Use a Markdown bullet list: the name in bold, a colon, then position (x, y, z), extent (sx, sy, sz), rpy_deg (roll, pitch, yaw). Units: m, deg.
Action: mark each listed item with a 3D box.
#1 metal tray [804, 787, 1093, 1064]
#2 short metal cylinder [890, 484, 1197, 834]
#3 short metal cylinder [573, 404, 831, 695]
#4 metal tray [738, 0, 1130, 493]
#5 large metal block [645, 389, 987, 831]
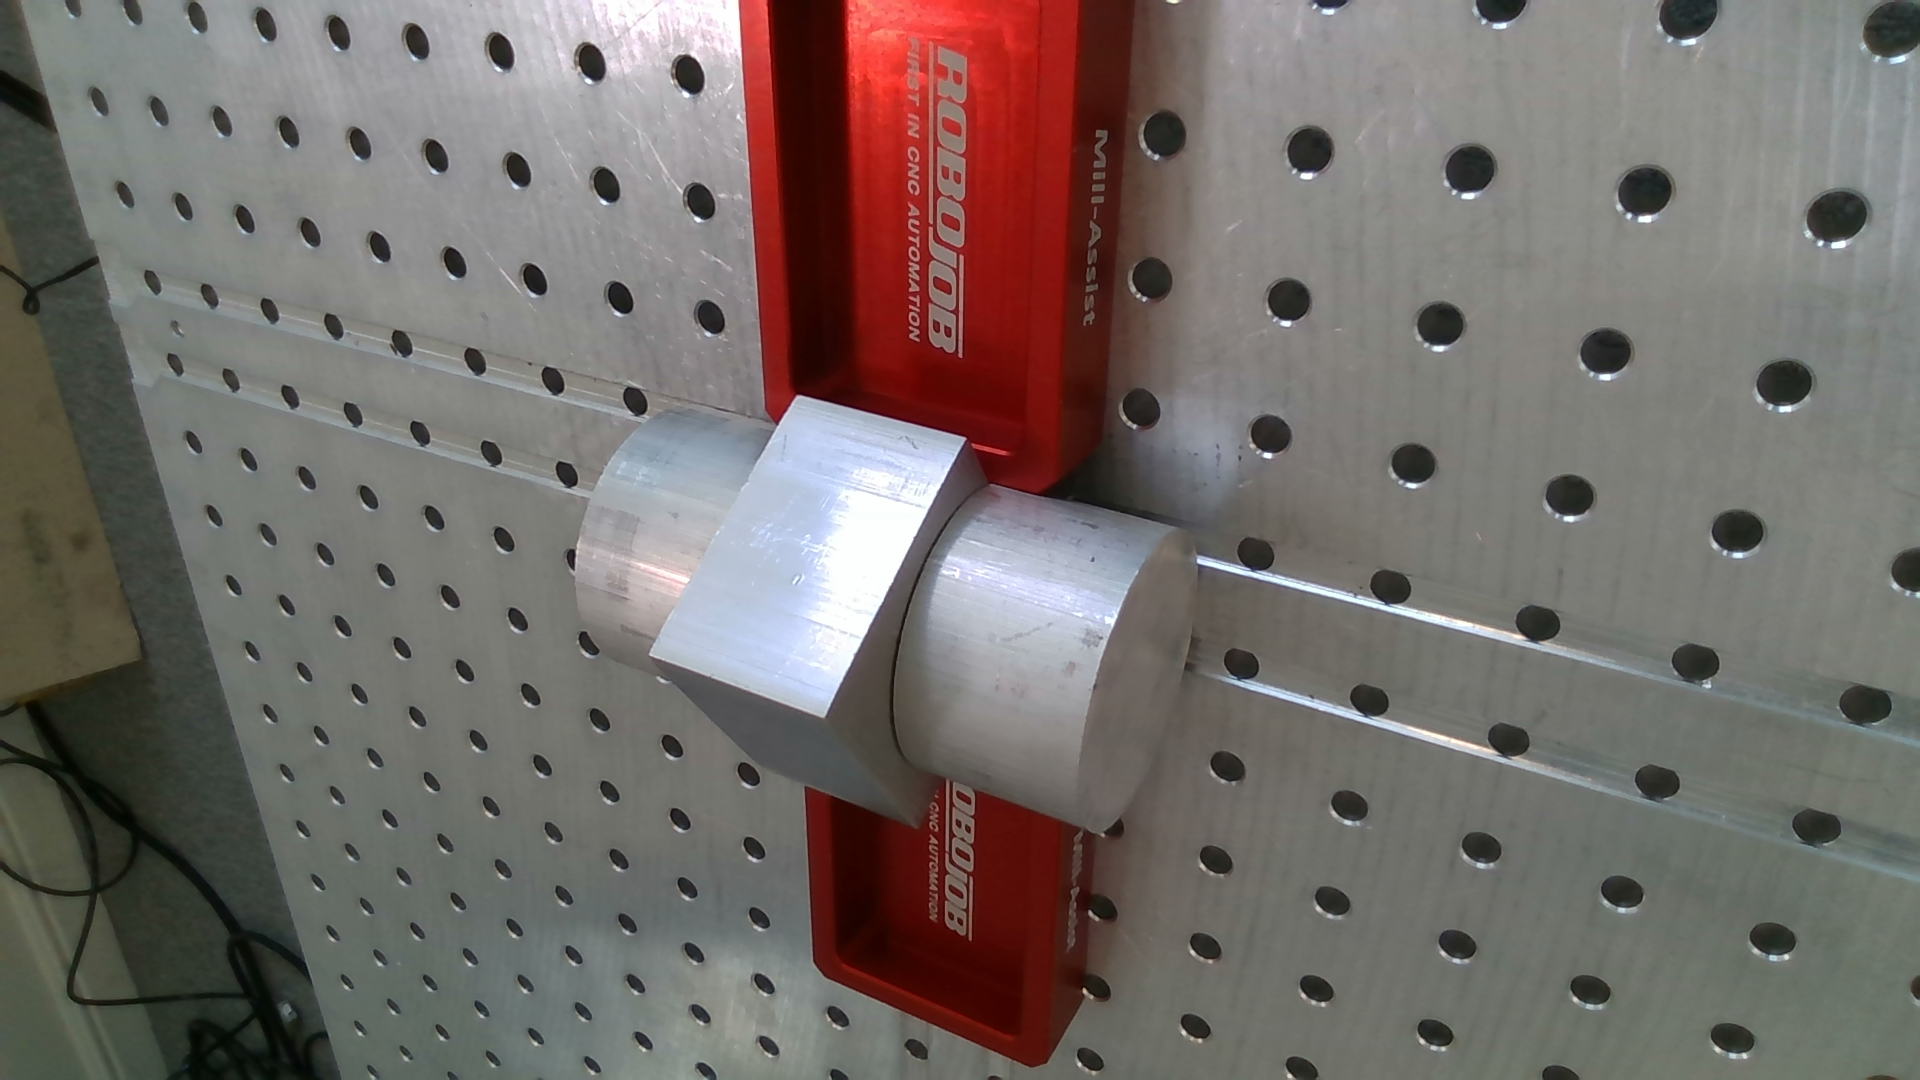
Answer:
- **metal tray**: position (-0.004, 0.099, 0.445), extent (0.090, 0.030, 0.130), rpy_deg (15, 122, 24)
- **short metal cylinder**: position (0.024, 0.029, 0.357), extent (0.050, 0.080, 0.080), rpy_deg (16, 122, 24)
- **short metal cylinder**: position (-0.065, 0.005, 0.399), extent (0.050, 0.080, 0.080), rpy_deg (16, 122, 24)
- **metal tray**: position (-0.008, -0.084, 0.347), extent (0.090, 0.030, 0.130), rpy_deg (15, 122, 24)
- **large metal block**: position (-0.027, 0.020, 0.366), extent (0.050, 0.080, 0.080), rpy_deg (16, 157, 23)
